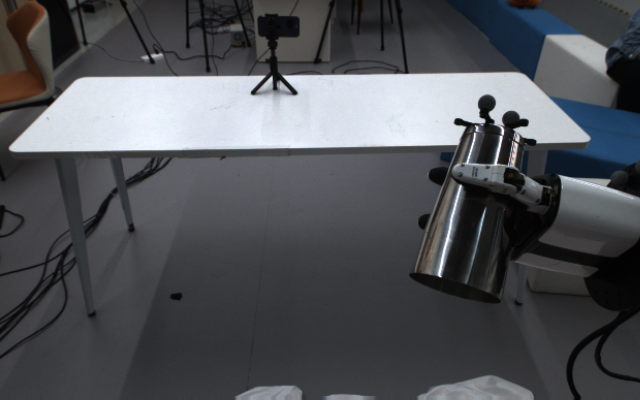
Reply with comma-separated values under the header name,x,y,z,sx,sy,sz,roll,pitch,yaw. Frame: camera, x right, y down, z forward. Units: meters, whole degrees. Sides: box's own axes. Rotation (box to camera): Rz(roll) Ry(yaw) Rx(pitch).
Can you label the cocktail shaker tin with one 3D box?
name,x,y,z,sx,sy,sz,roll,pitch,yaw
cocktail shaker tin,0.162,0.011,0.504,0.093,0.093,0.170,15,75,18
